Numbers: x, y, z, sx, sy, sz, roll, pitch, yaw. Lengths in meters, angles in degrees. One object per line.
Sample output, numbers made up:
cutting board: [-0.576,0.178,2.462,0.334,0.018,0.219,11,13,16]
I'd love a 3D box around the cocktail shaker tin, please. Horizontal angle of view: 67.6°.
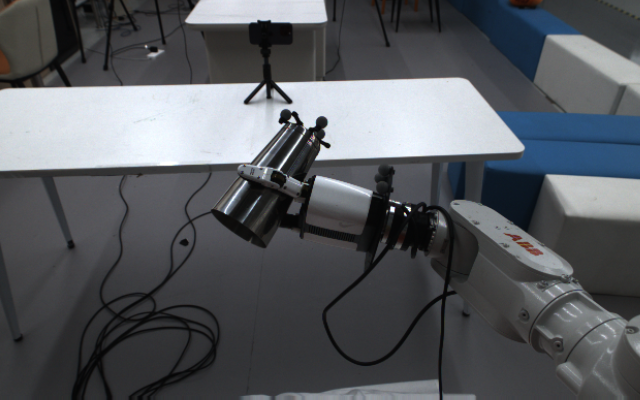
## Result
cocktail shaker tin: [-0.070,-0.031,0.696,0.093,0.093,0.170,22,67,26]
